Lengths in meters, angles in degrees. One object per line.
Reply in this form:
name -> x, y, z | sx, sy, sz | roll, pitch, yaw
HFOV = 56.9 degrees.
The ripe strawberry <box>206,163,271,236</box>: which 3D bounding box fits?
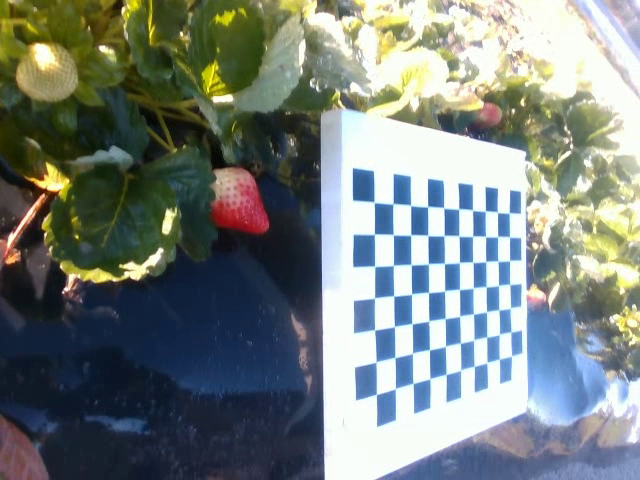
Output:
ripe strawberry -> -0.054, -0.021, 0.410 | 0.040, 0.040, 0.065 | -5, -44, 43
